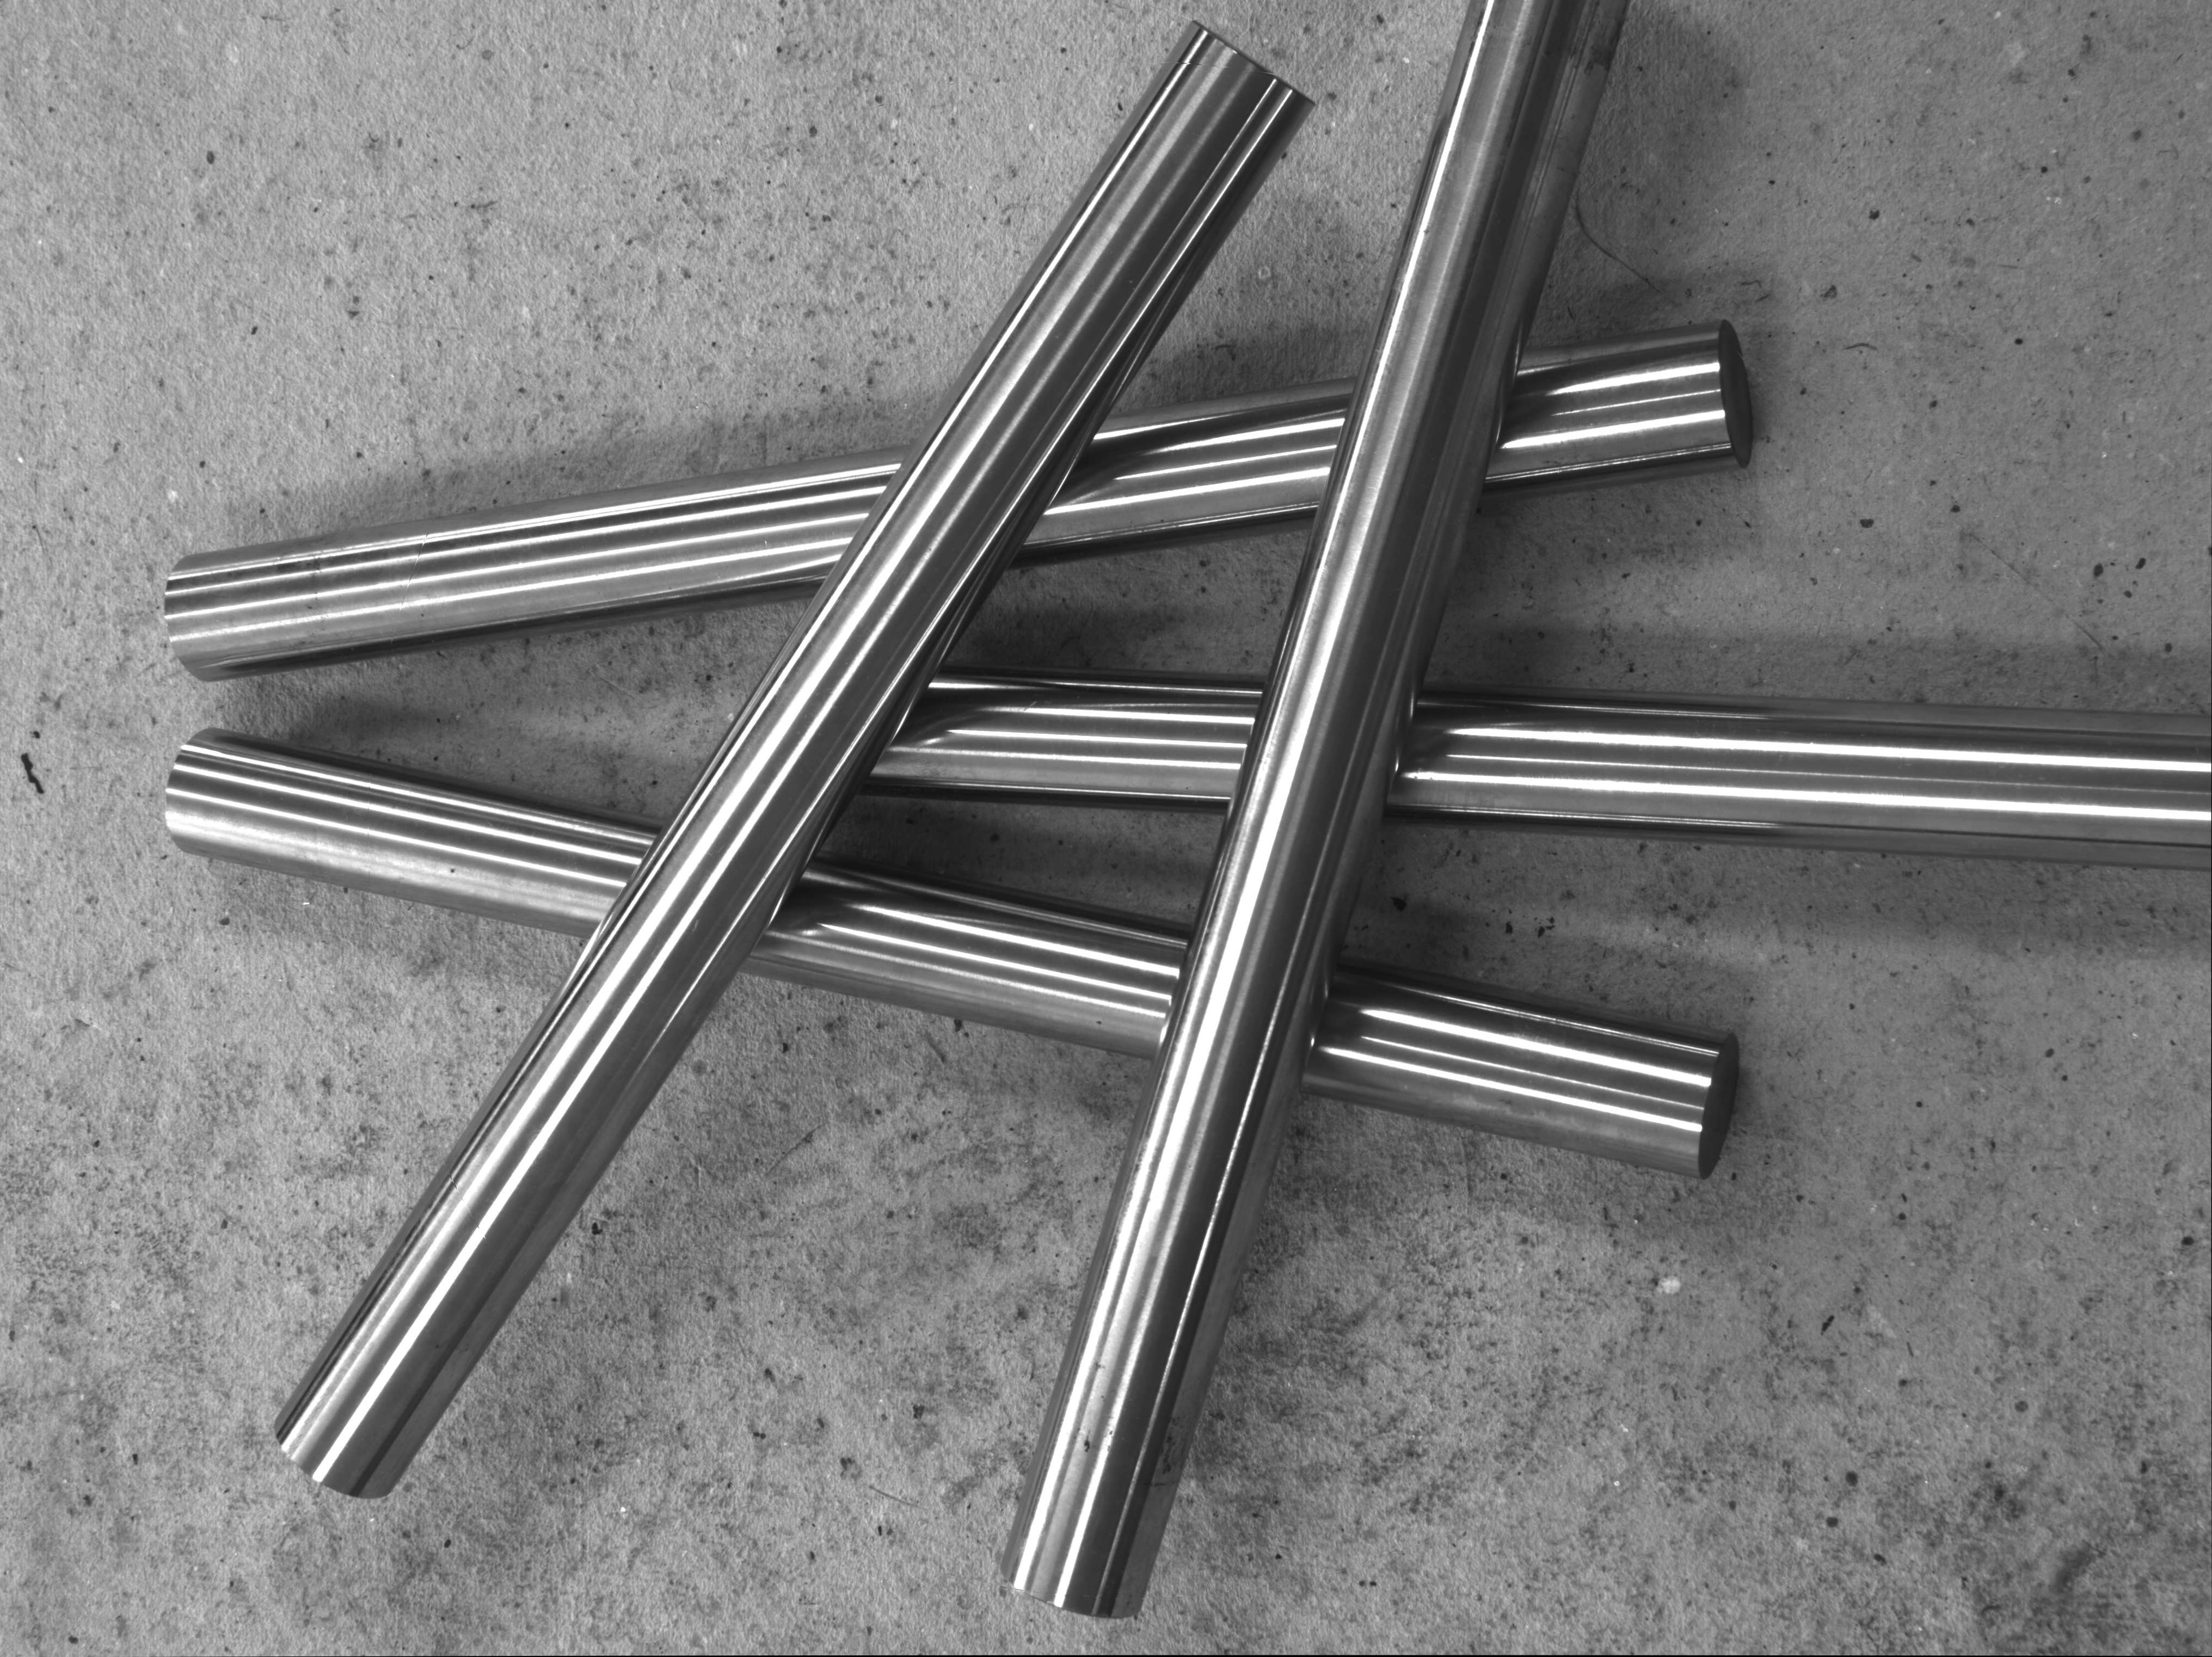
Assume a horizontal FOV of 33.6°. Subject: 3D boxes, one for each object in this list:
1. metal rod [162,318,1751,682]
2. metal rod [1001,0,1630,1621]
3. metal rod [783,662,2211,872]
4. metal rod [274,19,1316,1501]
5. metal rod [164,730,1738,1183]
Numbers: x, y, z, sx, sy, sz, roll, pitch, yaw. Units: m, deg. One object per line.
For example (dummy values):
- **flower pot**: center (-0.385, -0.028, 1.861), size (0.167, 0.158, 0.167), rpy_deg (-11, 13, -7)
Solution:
- **metal rod**: center (-0.035, -0.056, 0.659), size (0.299, 0.025, 0.025), rpy_deg (-6, 88, 20)
- **metal rod**: center (0.037, -0.014, 0.607), size (0.025, 0.025, 0.300), rpy_deg (19, 96, 19)
- **metal rod**: center (0.086, -0.011, 0.615), size (0.299, 0.025, 0.025), rpy_deg (3, 91, 20)
- **metal rod**: center (-0.058, -0.007, 0.641), size (0.025, 0.025, 0.300), rpy_deg (38, 102, 16)
- **metal rod**: center (-0.036, 0.020, 0.659), size (0.299, 0.025, 0.025), rpy_deg (11, 94, 20)
